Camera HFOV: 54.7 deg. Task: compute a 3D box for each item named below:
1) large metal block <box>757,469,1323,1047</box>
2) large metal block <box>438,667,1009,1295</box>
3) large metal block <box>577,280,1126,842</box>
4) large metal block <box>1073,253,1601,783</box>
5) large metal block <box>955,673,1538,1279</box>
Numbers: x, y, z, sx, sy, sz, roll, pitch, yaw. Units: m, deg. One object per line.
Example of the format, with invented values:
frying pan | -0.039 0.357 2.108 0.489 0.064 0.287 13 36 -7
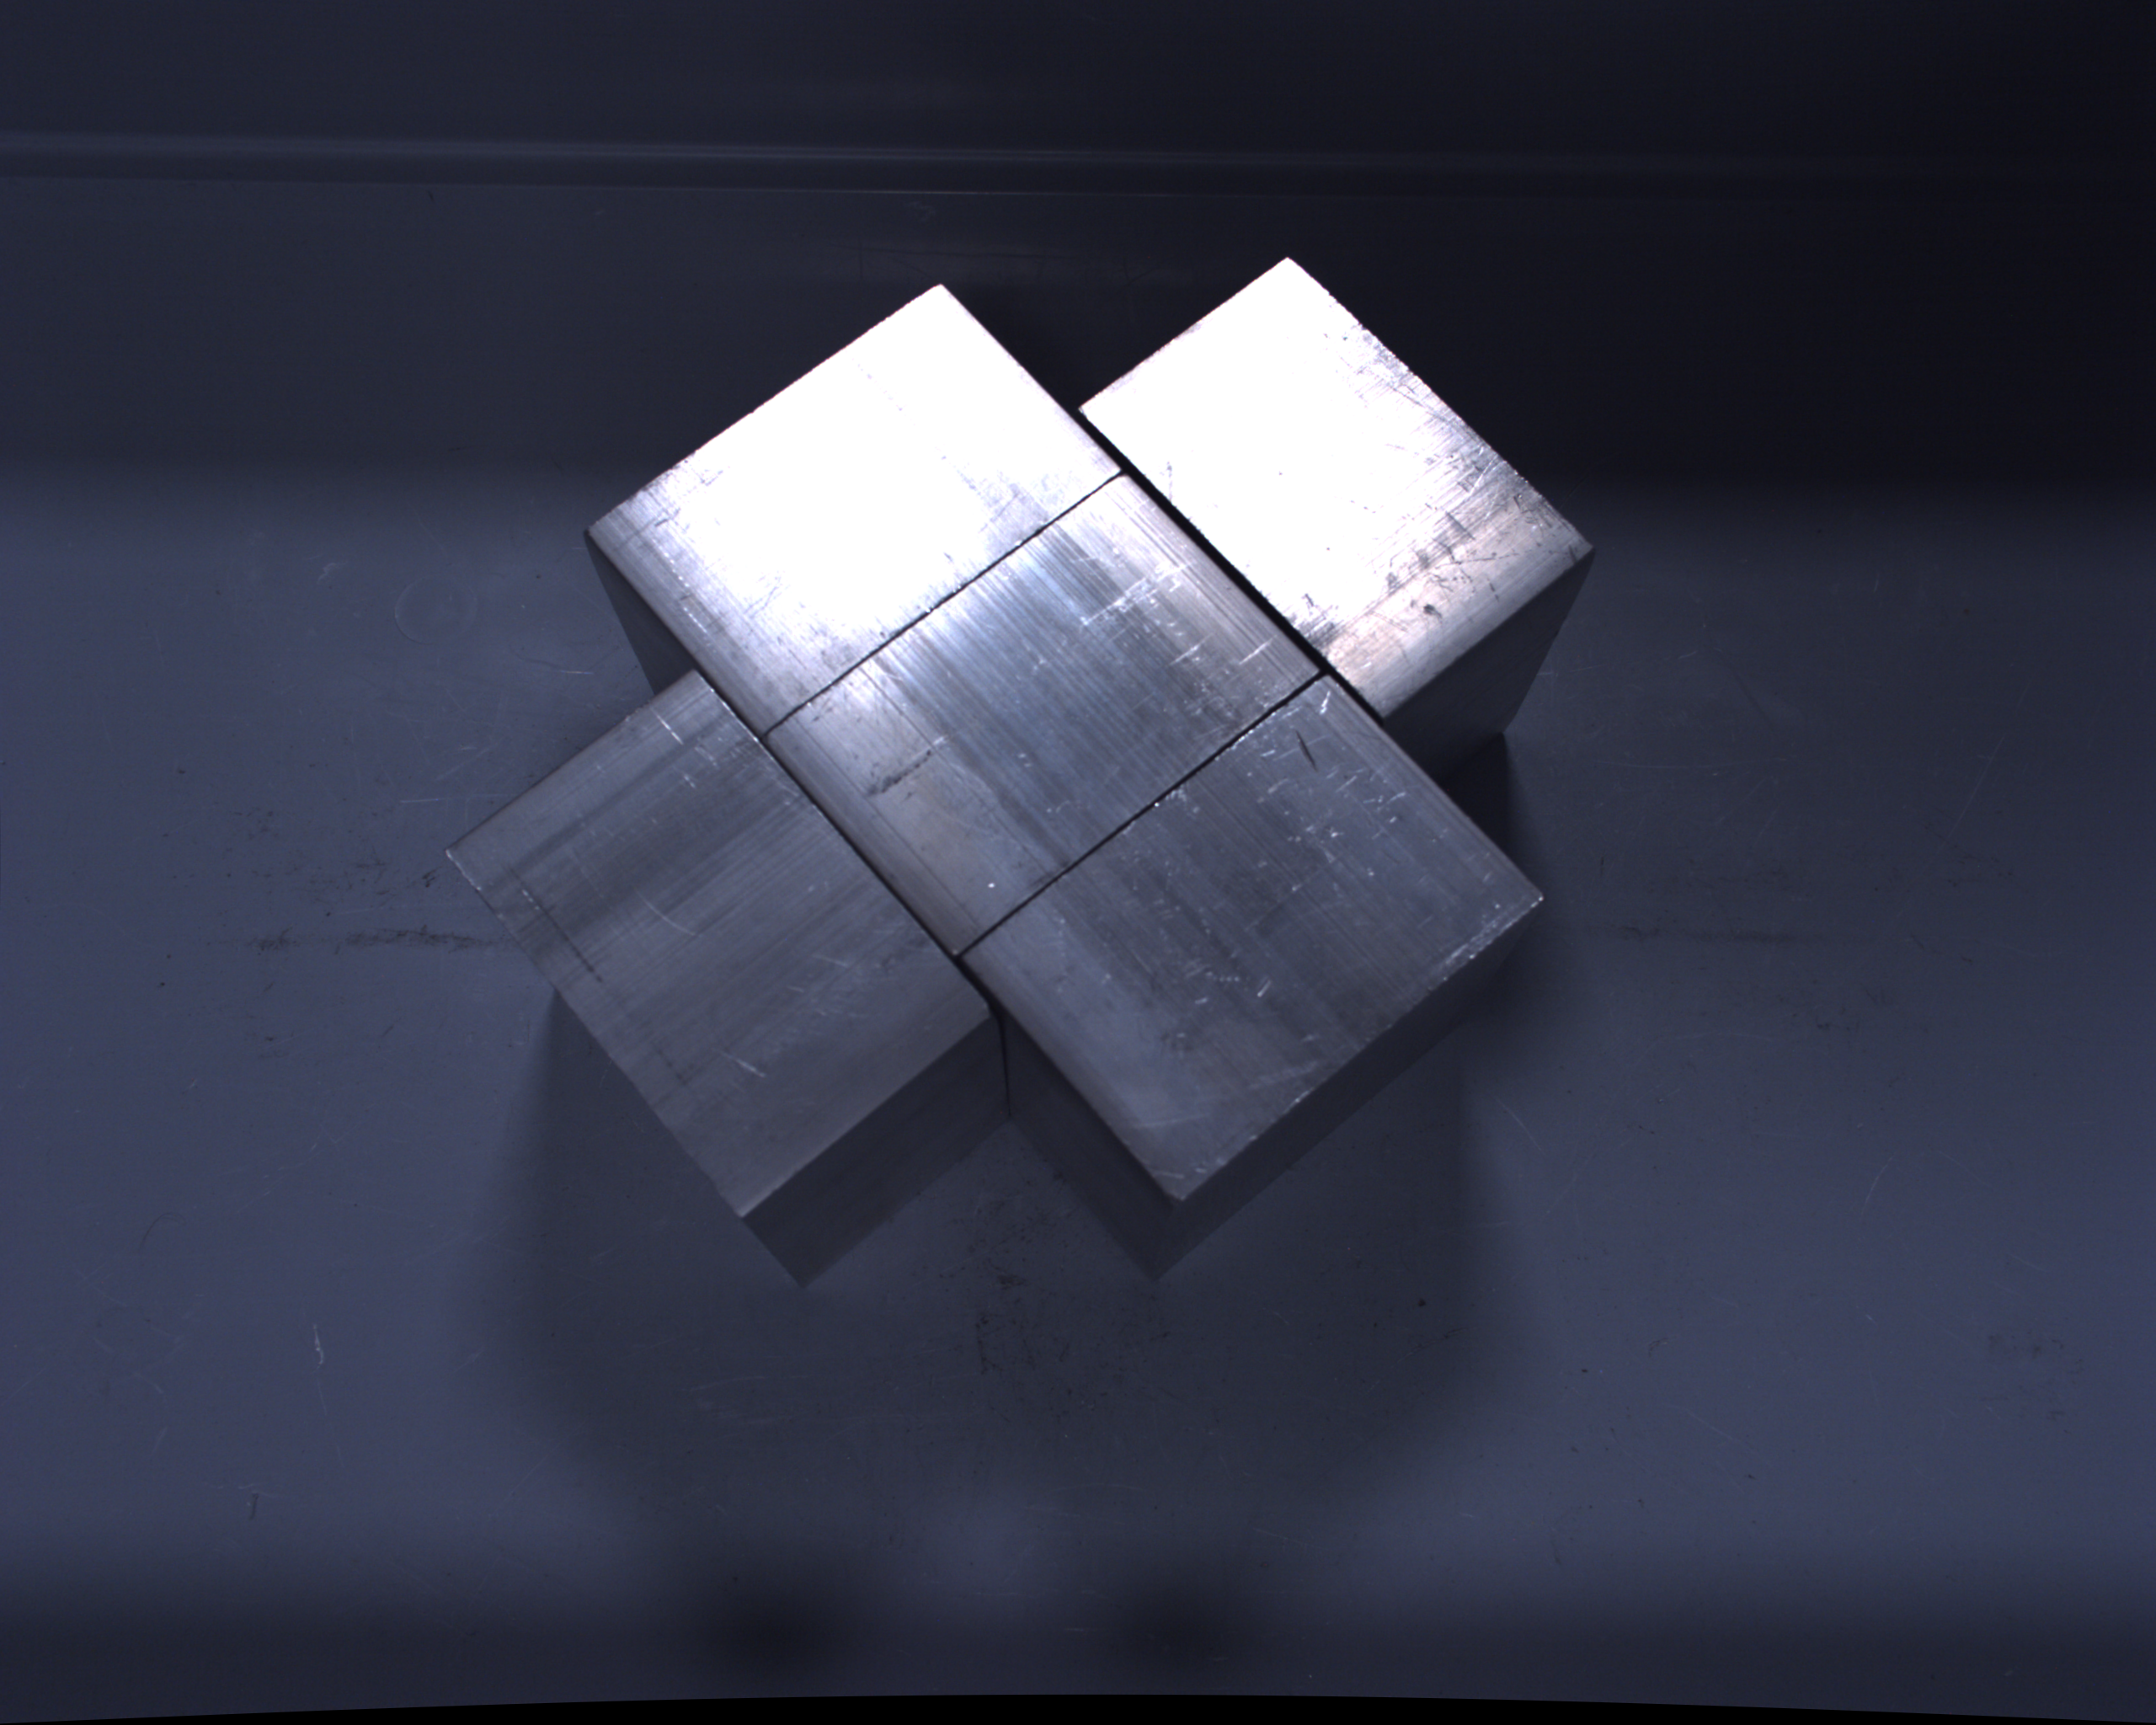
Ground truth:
large metal block | -0.006 -0.013 0.384 0.080 0.080 0.050 -38 75 -13
large metal block | -0.058 0.024 0.370 0.050 0.080 0.080 -39 75 -13
large metal block | -0.039 -0.049 0.397 0.080 0.080 0.050 -38 75 -13
large metal block | 0.044 -0.054 0.400 0.050 0.080 0.080 -39 75 -13
large metal block | 0.027 0.024 0.372 0.080 0.080 0.050 -38 75 -13
